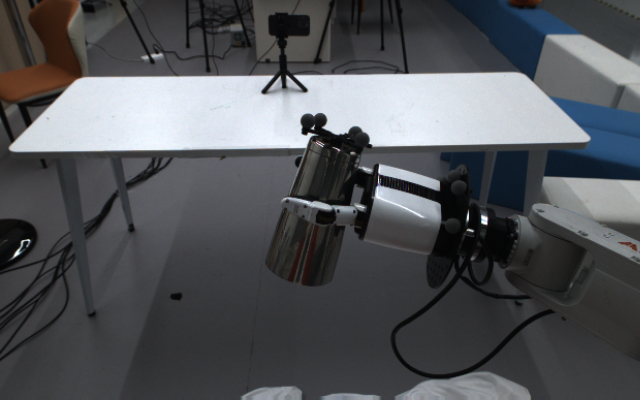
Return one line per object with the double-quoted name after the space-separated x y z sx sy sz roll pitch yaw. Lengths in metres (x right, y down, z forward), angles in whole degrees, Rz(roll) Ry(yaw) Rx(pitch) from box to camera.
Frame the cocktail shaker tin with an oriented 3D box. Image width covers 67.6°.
-0.004 0.011 0.607 0.093 0.170 0.093 15 17 -5 "cocktail shaker tin"
